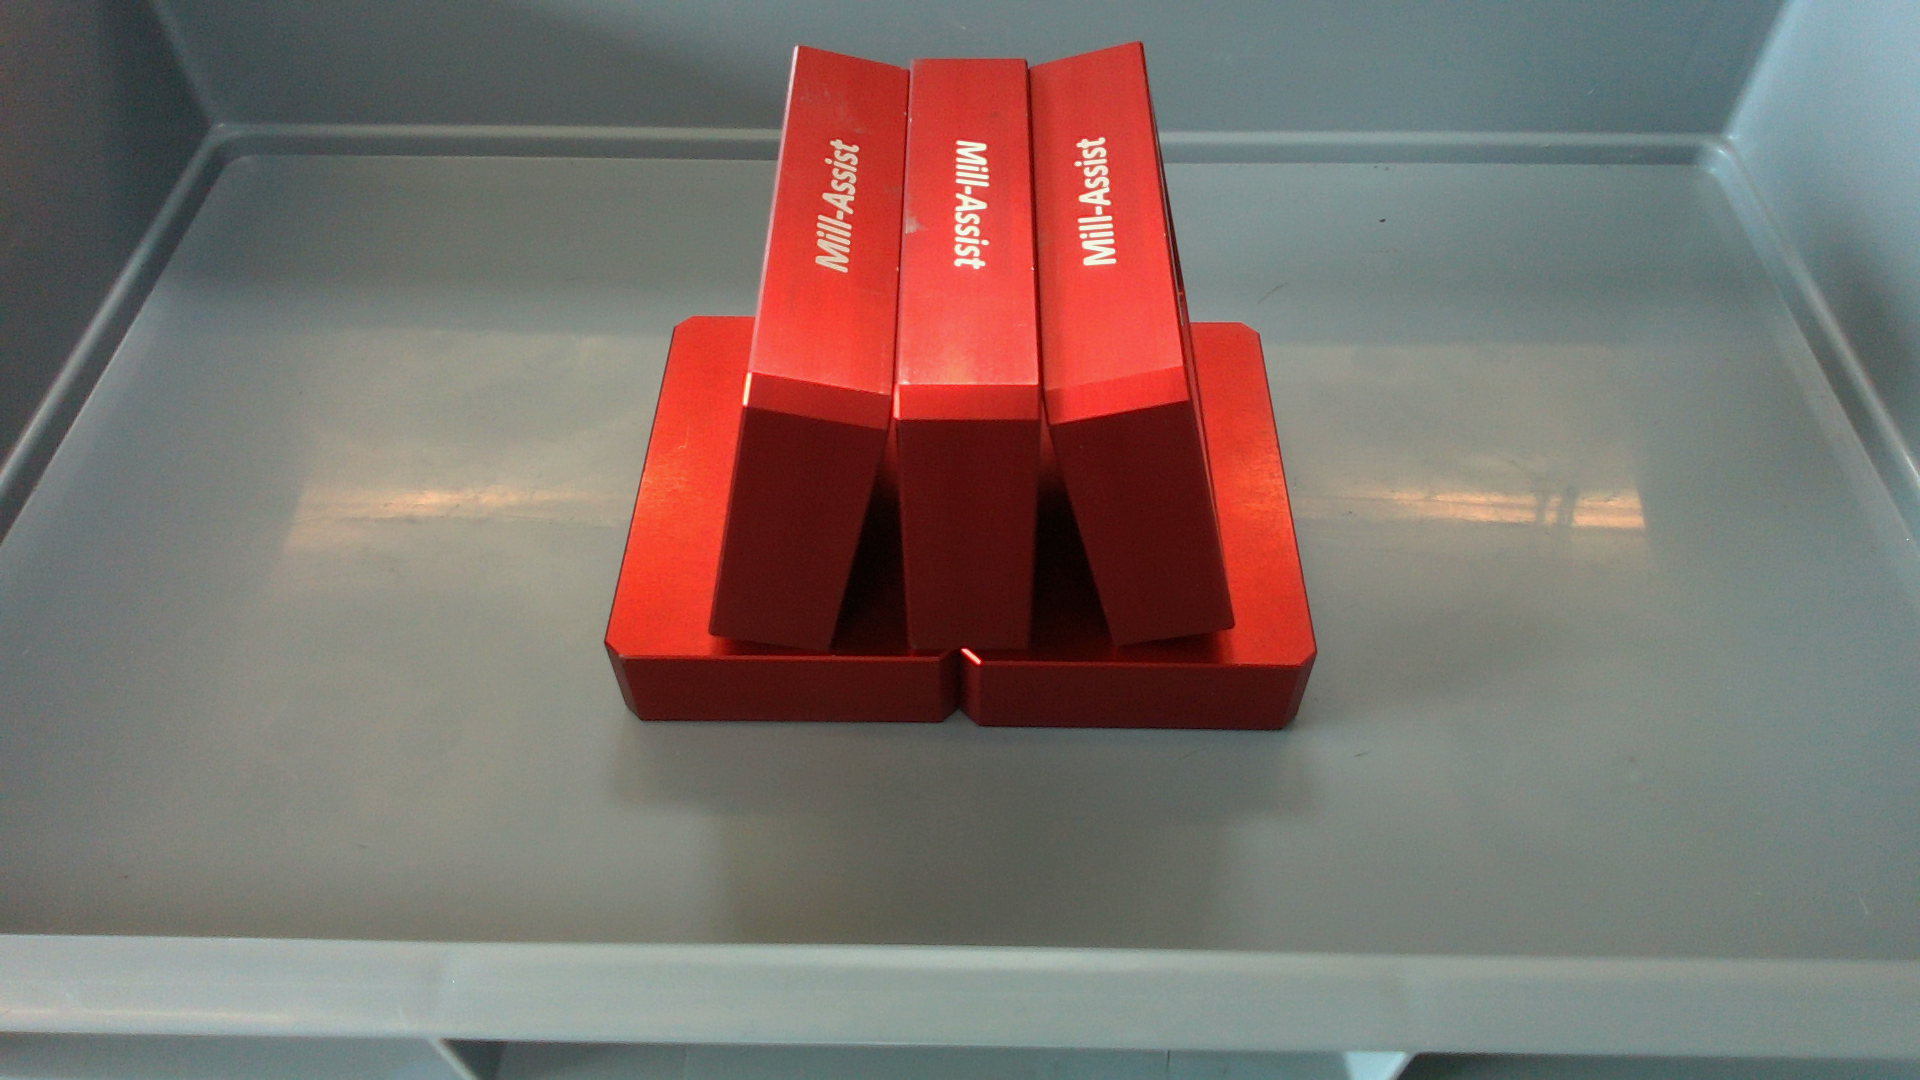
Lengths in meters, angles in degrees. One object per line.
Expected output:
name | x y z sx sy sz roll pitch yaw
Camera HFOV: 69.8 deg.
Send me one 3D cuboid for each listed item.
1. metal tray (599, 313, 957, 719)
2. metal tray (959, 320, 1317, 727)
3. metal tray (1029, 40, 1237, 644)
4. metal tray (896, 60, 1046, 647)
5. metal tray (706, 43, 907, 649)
metal tray | -0.045 -0.011 0.395 0.090 0.030 0.130 0 50 0
metal tray | 0.046 -0.009 0.395 0.090 0.030 0.130 0 50 0
metal tray | 0.043 -0.051 0.348 0.030 0.090 0.130 -9 49 11
metal tray | 0.003 -0.049 0.348 0.030 0.090 0.130 0 48 0
metal tray | -0.038 -0.050 0.347 0.030 0.090 0.130 8 49 -9
